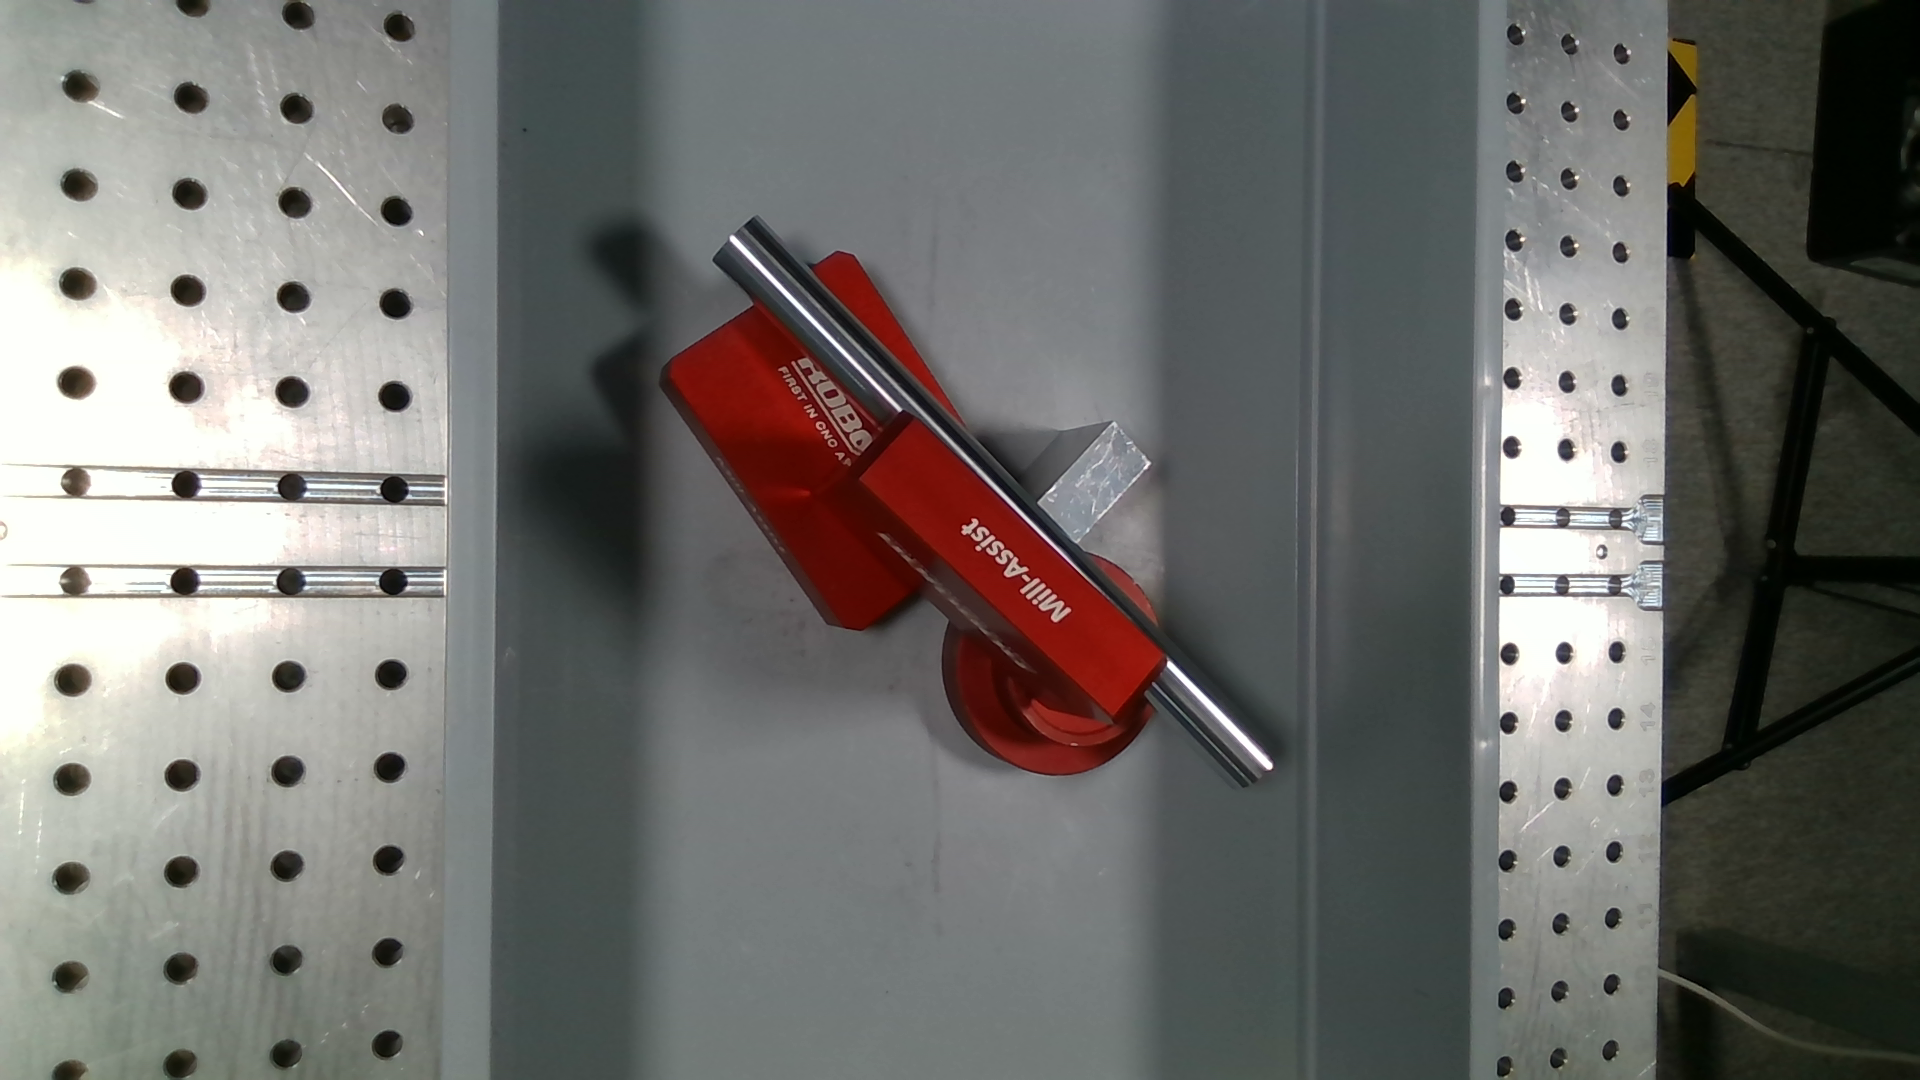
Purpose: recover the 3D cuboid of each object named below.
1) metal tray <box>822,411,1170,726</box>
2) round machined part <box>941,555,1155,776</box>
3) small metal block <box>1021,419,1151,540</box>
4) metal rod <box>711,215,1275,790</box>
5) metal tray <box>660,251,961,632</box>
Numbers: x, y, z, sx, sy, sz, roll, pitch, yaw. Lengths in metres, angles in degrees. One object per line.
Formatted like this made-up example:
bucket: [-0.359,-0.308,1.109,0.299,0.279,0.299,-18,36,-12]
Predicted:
metal tray: [0.009,0.013,0.513,0.130,0.090,0.030,43,79,-8]
round machined part: [0.045,0.053,0.592,0.098,0.042,0.098,0,90,-20]
small metal block: [0.046,-0.023,0.589,0.050,0.050,0.025,-46,105,-14]
metal rod: [0.018,-0.010,0.550,0.300,0.025,0.025,45,76,-11]
metal tray: [-0.050,-0.039,0.564,0.090,0.030,0.130,-37,102,-16]
